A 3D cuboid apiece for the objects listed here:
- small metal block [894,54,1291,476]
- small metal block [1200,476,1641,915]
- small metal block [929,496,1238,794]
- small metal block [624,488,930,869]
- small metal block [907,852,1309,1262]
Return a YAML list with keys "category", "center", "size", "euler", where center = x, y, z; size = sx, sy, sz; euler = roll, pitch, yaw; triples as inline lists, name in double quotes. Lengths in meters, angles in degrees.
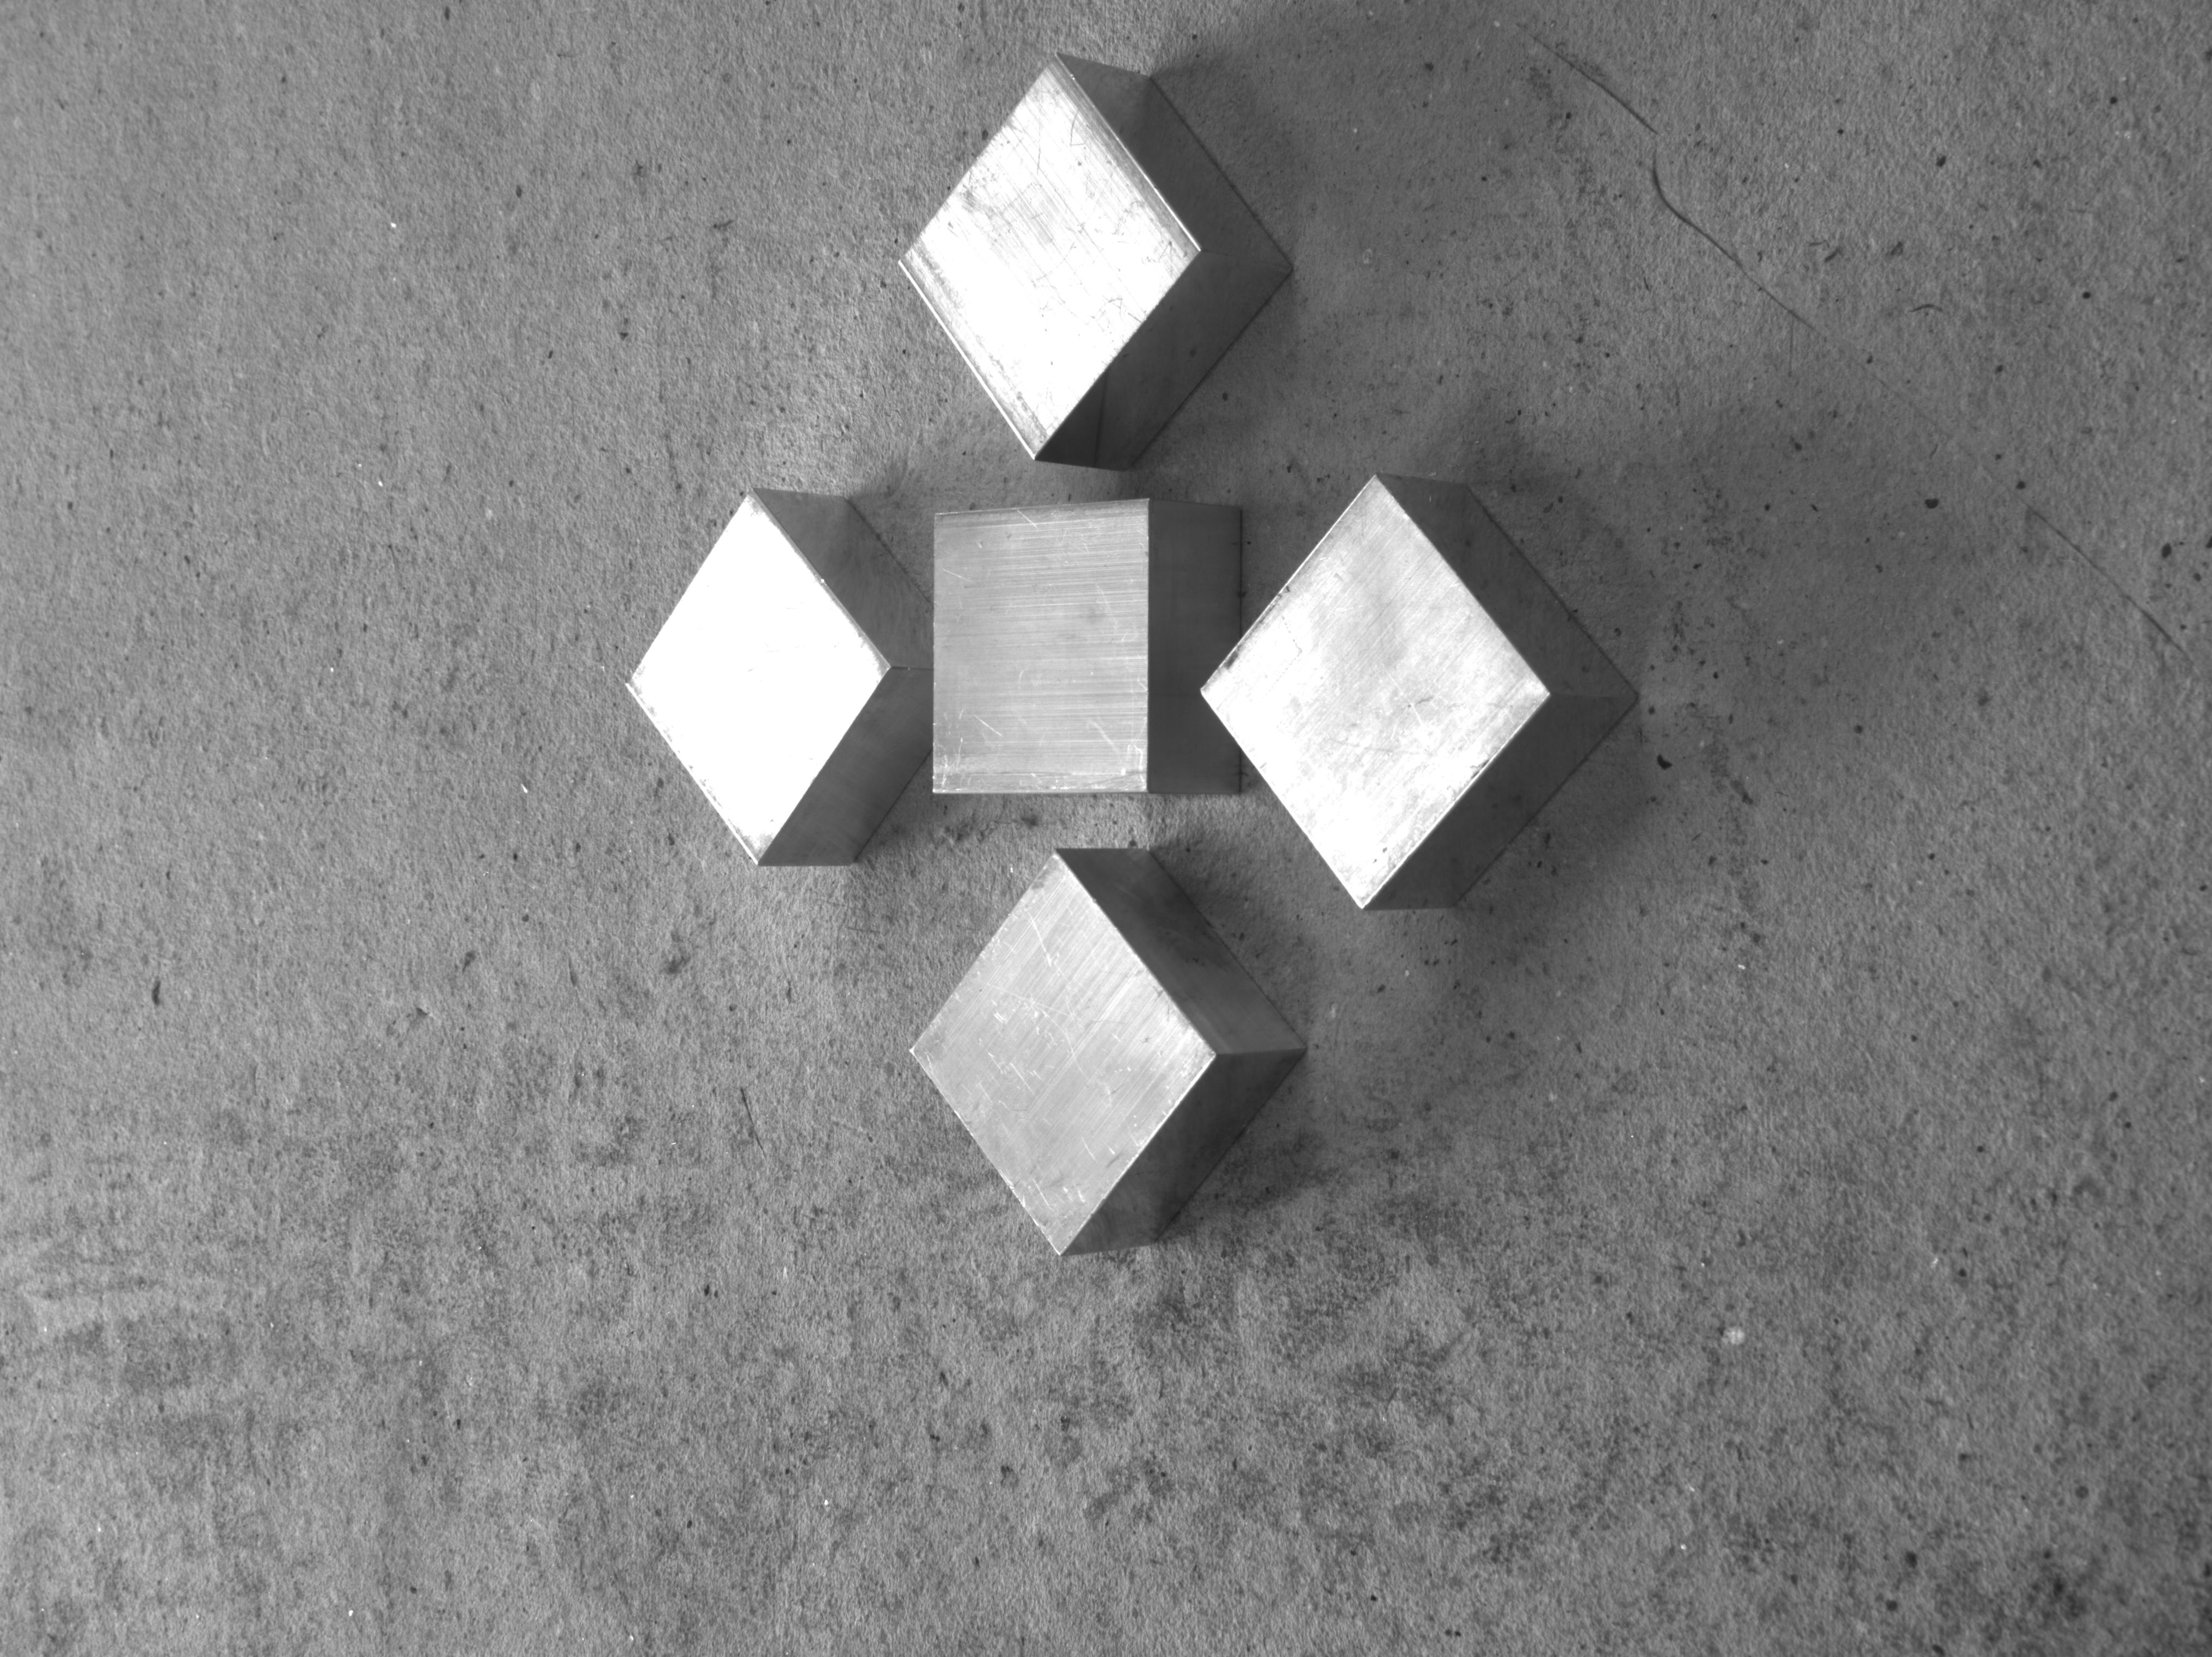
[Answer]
- category: "small metal block"
  center: [-0.003, -0.098, 0.647]
  size: [0.050, 0.025, 0.050]
  euler: [-48, 61, 29]
- category: "small metal block"
  center: [0.051, -0.021, 0.603]
  size: [0.050, 0.025, 0.050]
  euler: [-51, 60, 28]
- category: "small metal block"
  center: [-0.004, -0.031, 0.648]
  size: [0.050, 0.025, 0.050]
  euler: [0, 90, 41]
- category: "small metal block"
  center: [-0.057, -0.028, 0.694]
  size: [0.050, 0.025, 0.050]
  euler: [51, 119, 28]
- category: "small metal block"
  center: [0.000, 0.039, 0.646]
  size: [0.050, 0.025, 0.050]
  euler: [51, 119, 28]
